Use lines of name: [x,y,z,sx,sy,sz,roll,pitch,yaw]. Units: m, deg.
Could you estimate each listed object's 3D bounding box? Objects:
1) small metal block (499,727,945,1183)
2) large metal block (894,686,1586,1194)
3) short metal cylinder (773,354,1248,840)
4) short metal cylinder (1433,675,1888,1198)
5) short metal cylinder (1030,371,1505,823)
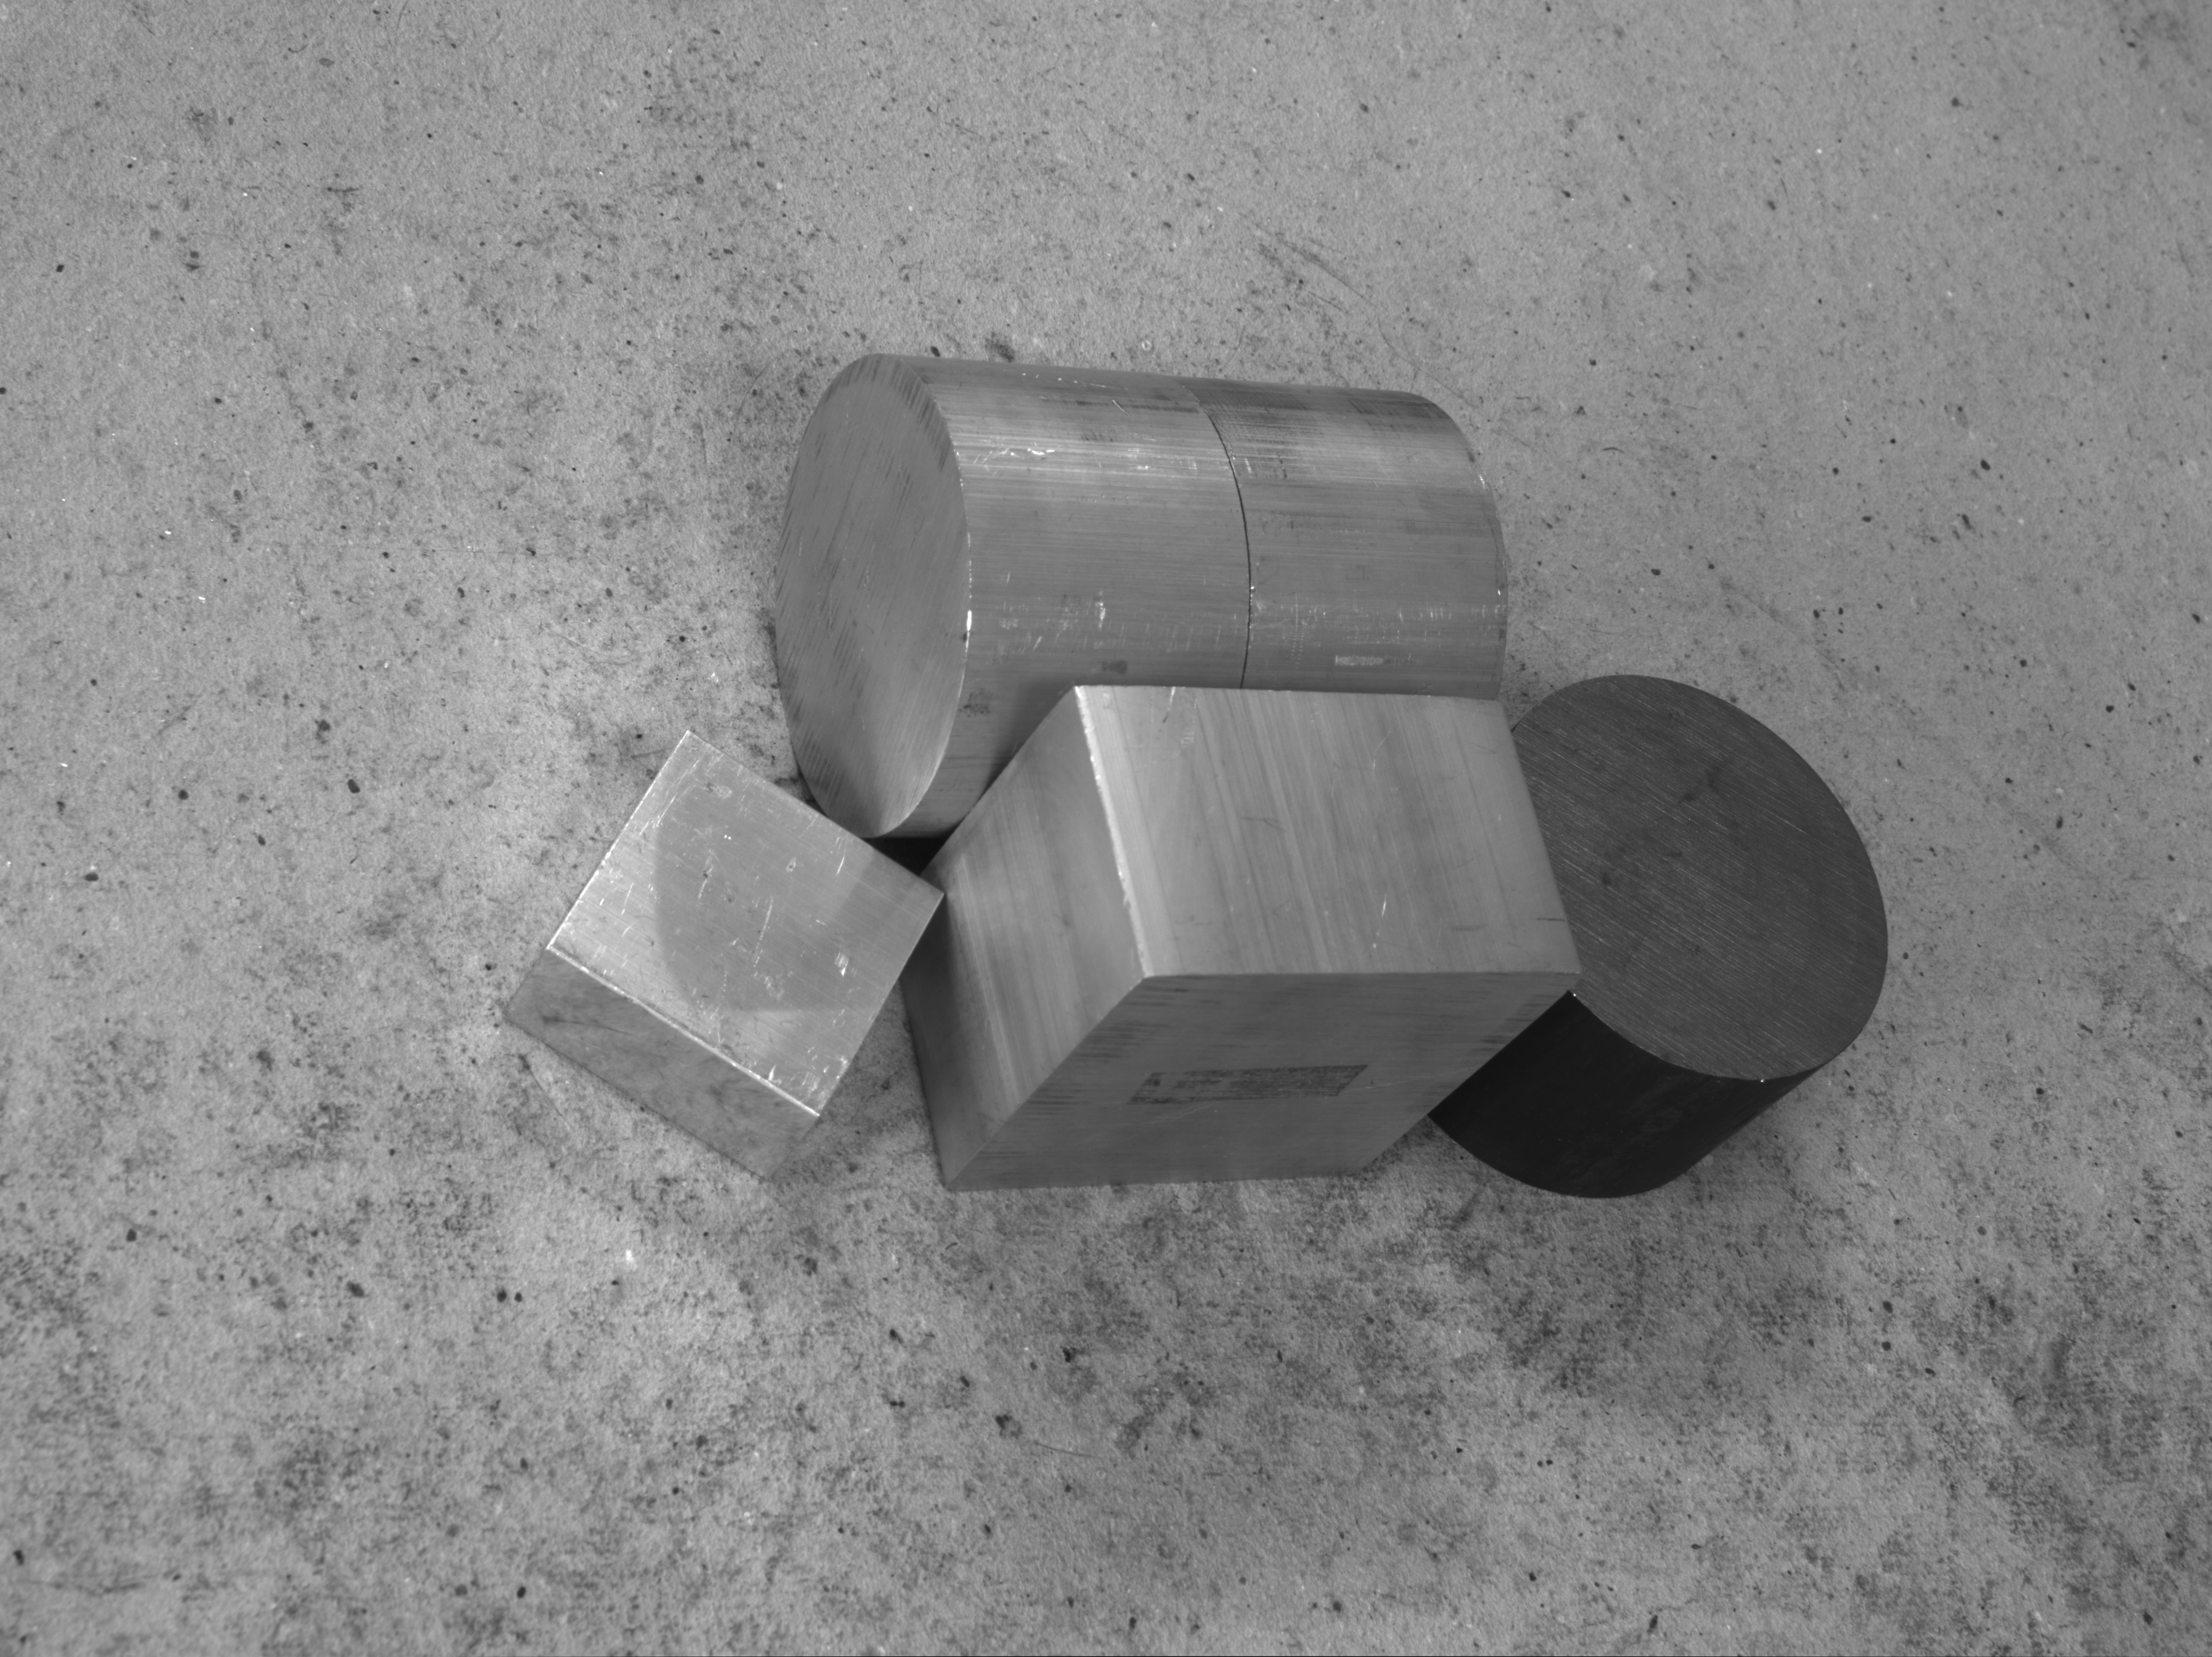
small metal block: [-0.062,0.020,0.595,0.050,0.025,0.050,33,51,-7]
large metal block: [0.019,0.020,0.603,0.080,0.080,0.050,1,61,-28]
short metal cylinder: [-0.018,-0.038,0.619,0.050,0.080,0.080,1,61,-28]
short metal cylinder: [0.092,0.020,0.661,0.080,0.050,0.080,13,56,-21]
short metal cylinder: [0.027,-0.038,0.643,0.050,0.080,0.080,1,61,-28]
